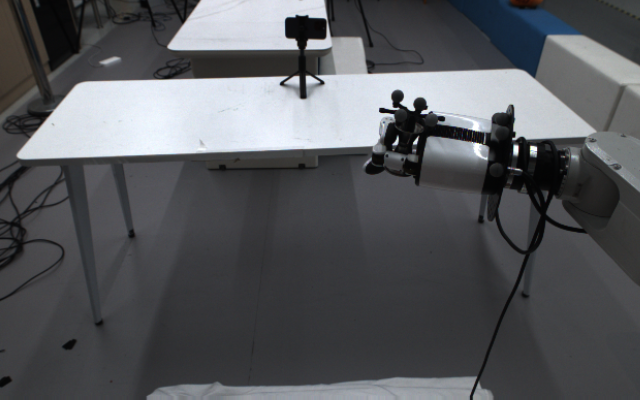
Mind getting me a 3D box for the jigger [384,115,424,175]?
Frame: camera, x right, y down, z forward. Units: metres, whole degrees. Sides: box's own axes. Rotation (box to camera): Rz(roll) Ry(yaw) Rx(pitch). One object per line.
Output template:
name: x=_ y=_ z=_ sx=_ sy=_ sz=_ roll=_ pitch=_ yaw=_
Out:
jigger: x=0.119 y=-0.072 z=0.683 sx=0.043 sy=0.071 sz=0.043 roll=7 pitch=32 yaw=-4
